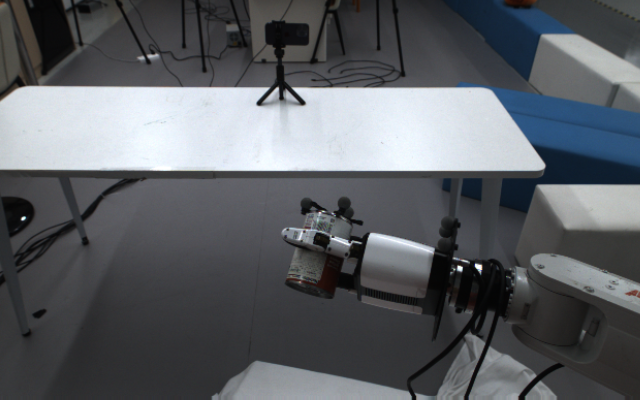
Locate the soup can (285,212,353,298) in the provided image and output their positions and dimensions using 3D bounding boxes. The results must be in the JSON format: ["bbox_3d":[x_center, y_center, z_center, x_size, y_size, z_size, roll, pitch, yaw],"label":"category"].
[{"bbox_3d":[0.001,0.072,0.642,0.067,0.067,0.101,12,70,14],"label":"soup can"}]
